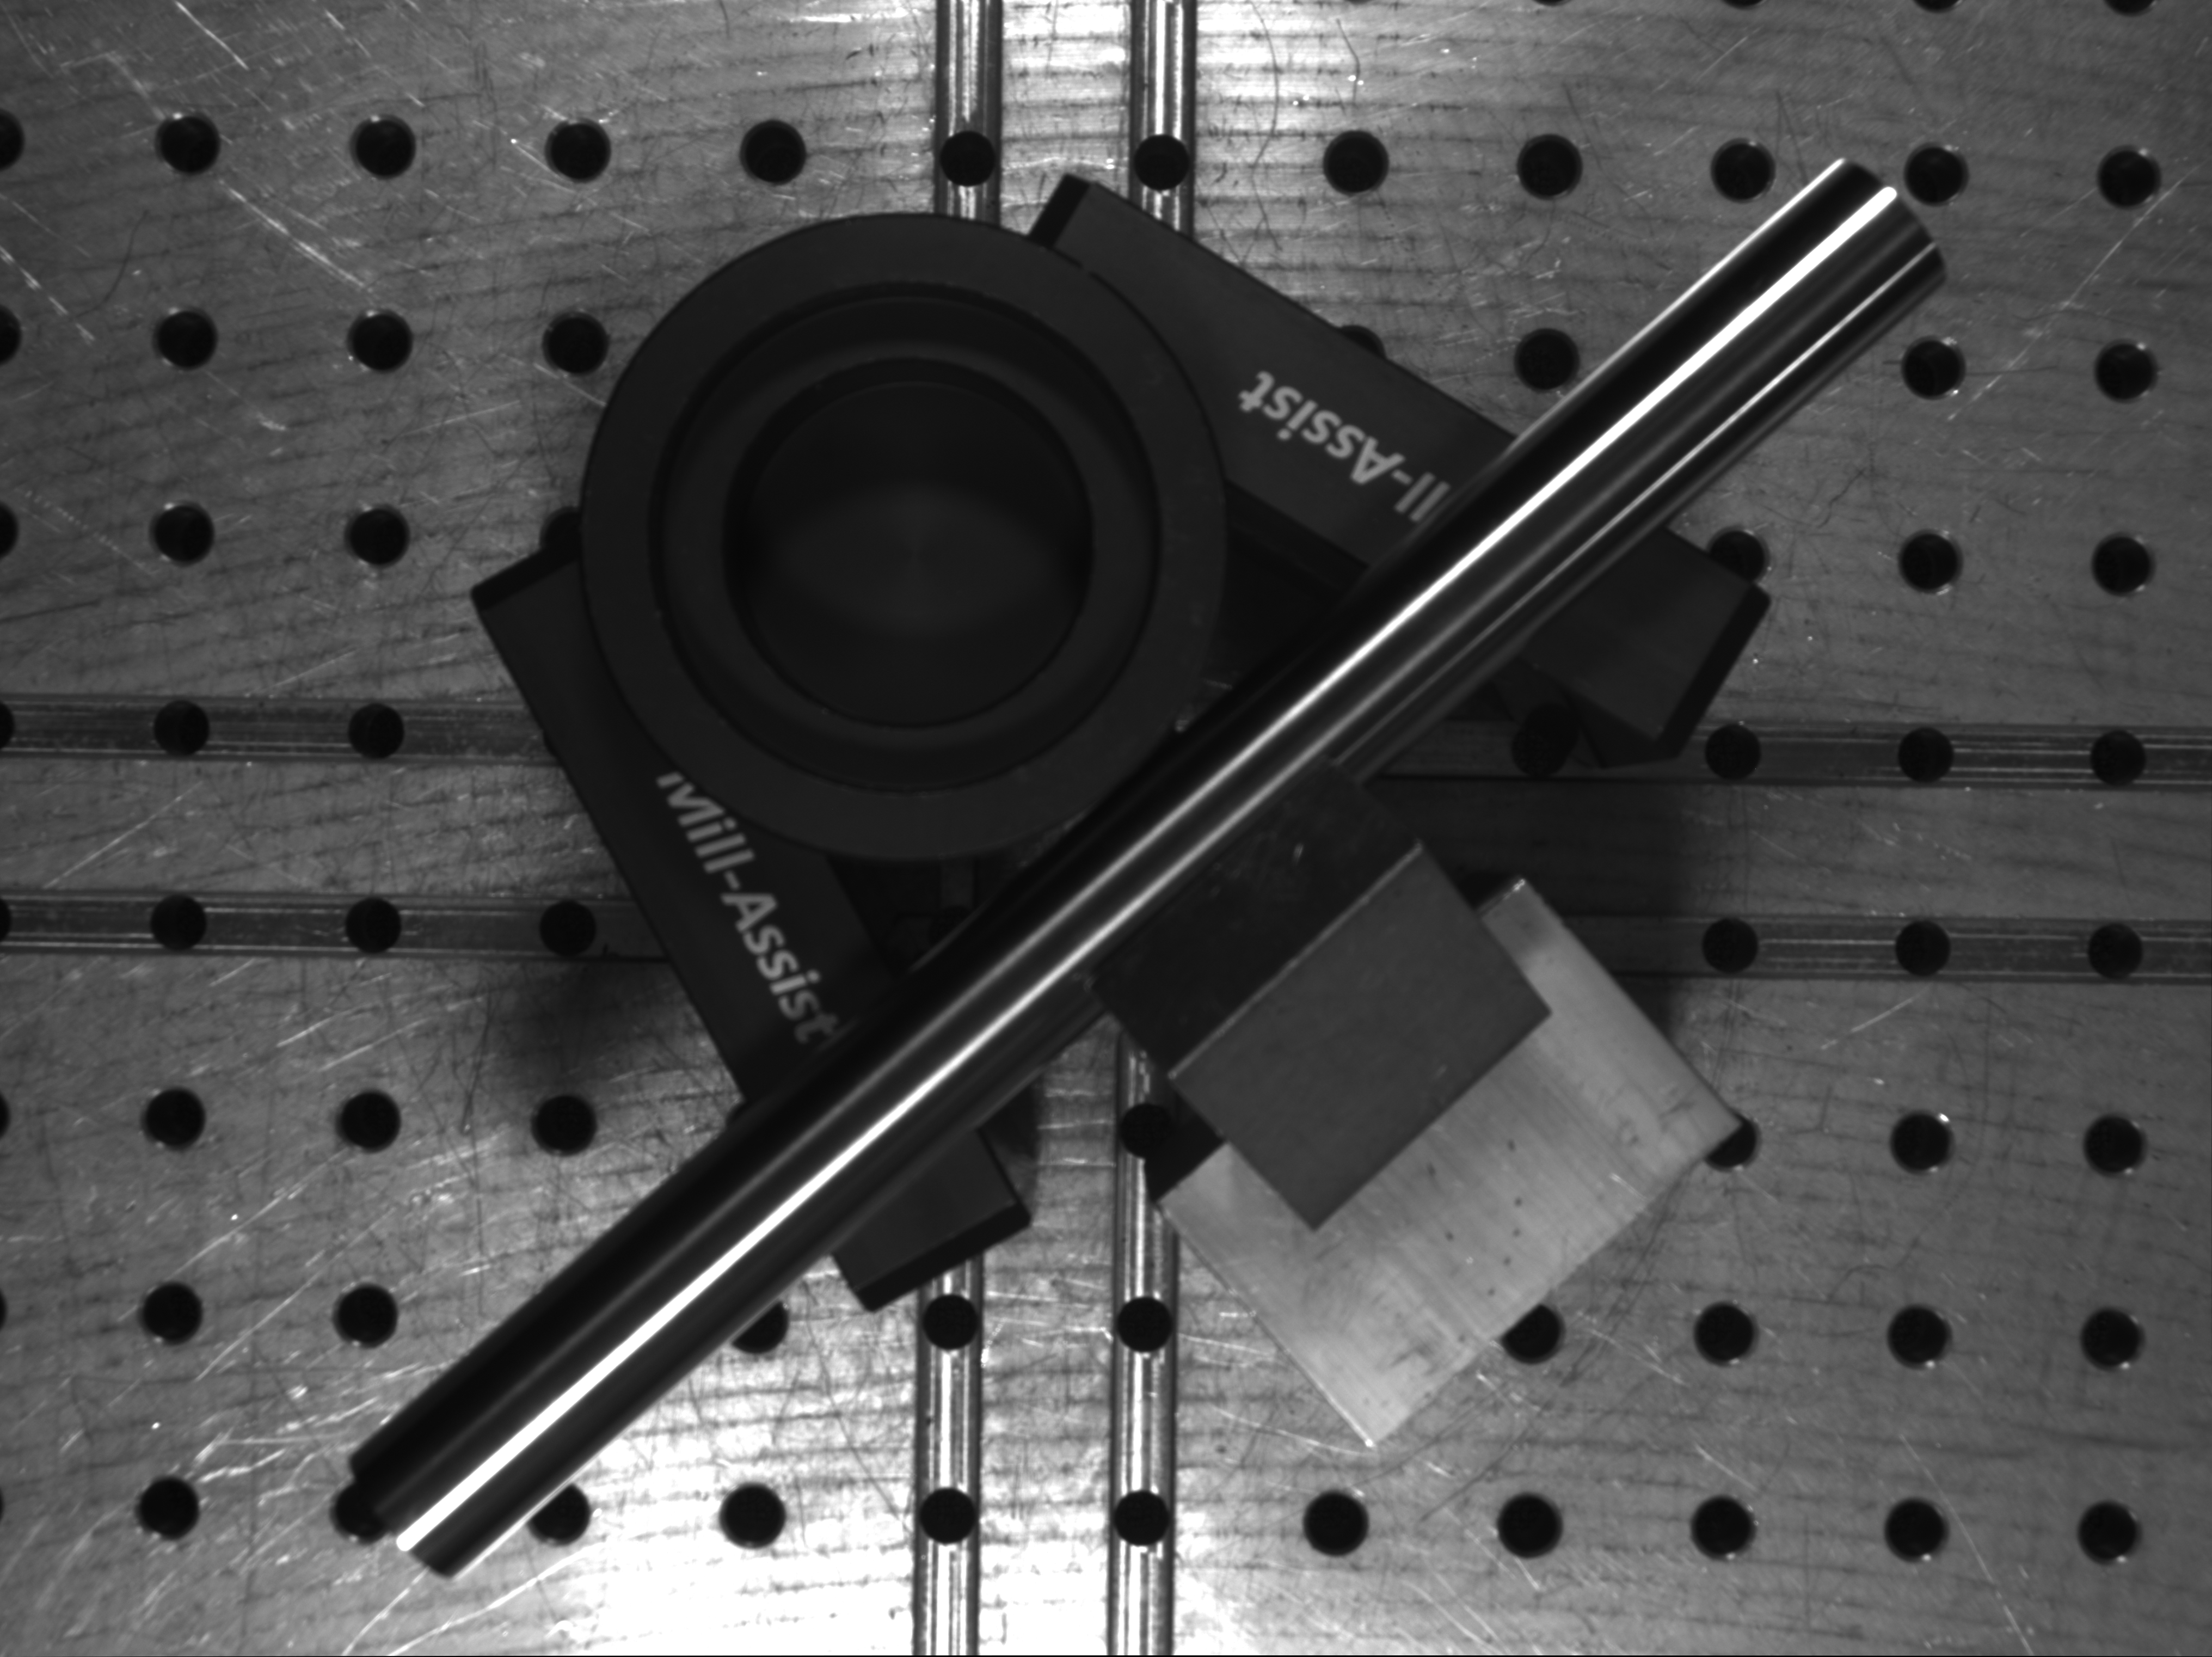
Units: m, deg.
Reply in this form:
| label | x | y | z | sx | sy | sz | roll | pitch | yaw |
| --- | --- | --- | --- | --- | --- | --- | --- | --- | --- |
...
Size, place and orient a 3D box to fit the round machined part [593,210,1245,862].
| label | x | y | z | sx | sy | sz | roll | pitch | yaw |
| --- | --- | --- | --- | --- | --- | --- | --- | --- | --- |
| round machined part | -0.028 | -0.044 | 0.570 | 0.098 | 0.042 | 0.098 | 0 | 90 | 0 |

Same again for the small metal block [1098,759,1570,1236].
| label | x | y | z | sx | sy | sz | roll | pitch | yaw |
| --- | --- | --- | --- | --- | --- | --- | --- | --- | --- |
| small metal block | 0.035 | 0.026 | 0.553 | 0.050 | 0.050 | 0.025 | -43 | 45 | 0 |

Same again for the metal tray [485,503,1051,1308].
| label | x | y | z | sx | sy | sz | roll | pitch | yaw |
| --- | --- | --- | --- | --- | --- | --- | --- | --- | --- |
| metal tray | -0.054 | 0.012 | 0.614 | 0.030 | 0.090 | 0.130 | -29 | 90 | 0 |

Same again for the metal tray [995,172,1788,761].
| label | x | y | z | sx | sy | sz | roll | pitch | yaw |
| --- | --- | --- | --- | --- | --- | --- | --- | --- | --- |
| metal tray | 0.045 | -0.057 | 0.615 | 0.130 | 0.090 | 0.030 | 31 | 91 | 0 |

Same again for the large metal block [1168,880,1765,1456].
| label | x | y | z | sx | sy | sz | roll | pitch | yaw |
| --- | --- | --- | --- | --- | --- | --- | --- | --- | --- |
| large metal block | 0.057 | 0.054 | 0.617 | 0.080 | 0.080 | 0.050 | -41 | 90 | 0 |

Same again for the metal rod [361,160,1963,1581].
| label | x | y | z | sx | sy | sz | roll | pitch | yaw |
| --- | --- | --- | --- | --- | --- | --- | --- | --- | --- |
| metal rod | 0.009 | 0.006 | 0.557 | 0.300 | 0.025 | 0.025 | -41 | 90 | 0 |
